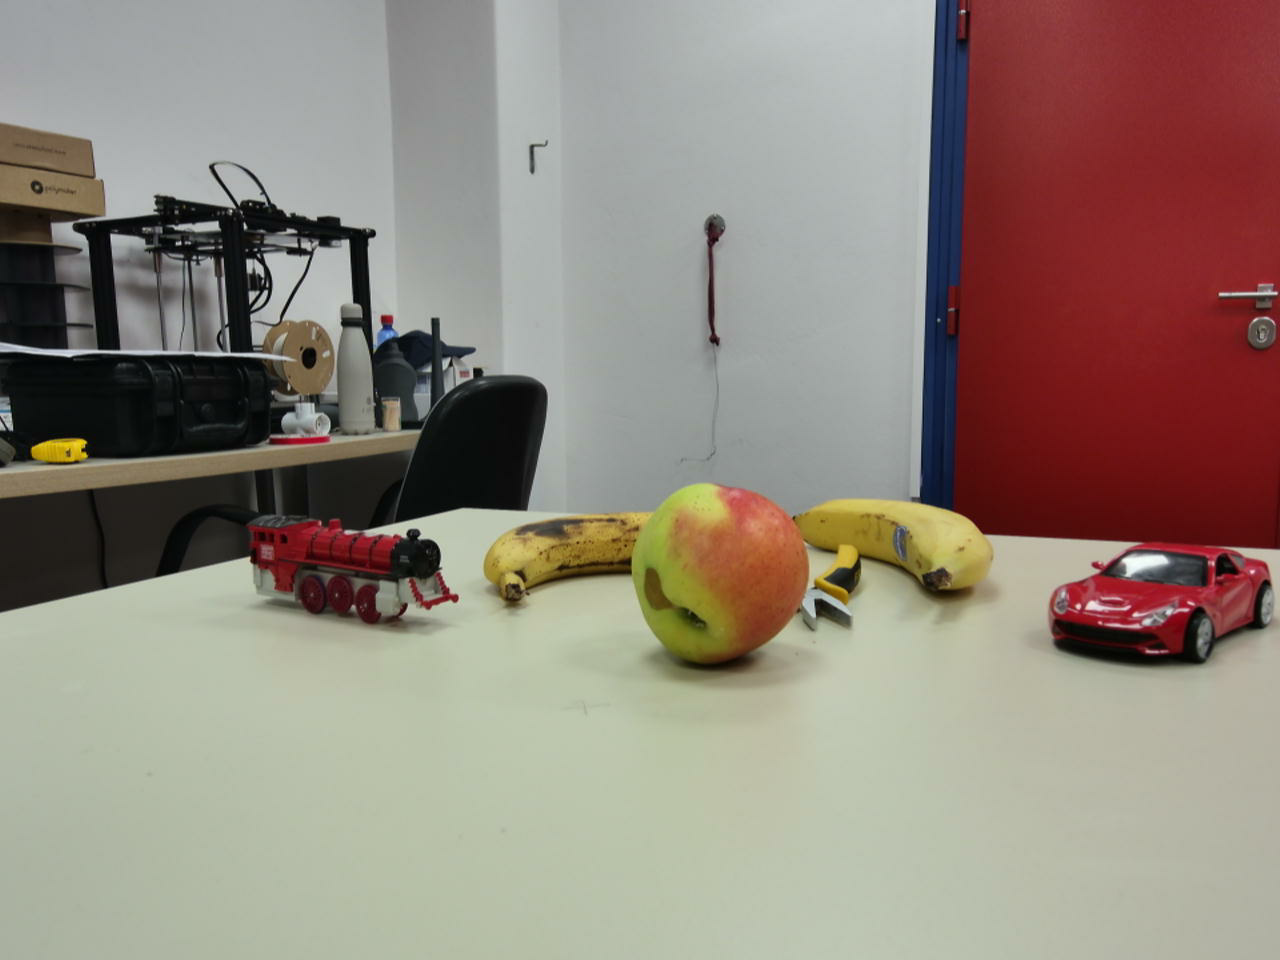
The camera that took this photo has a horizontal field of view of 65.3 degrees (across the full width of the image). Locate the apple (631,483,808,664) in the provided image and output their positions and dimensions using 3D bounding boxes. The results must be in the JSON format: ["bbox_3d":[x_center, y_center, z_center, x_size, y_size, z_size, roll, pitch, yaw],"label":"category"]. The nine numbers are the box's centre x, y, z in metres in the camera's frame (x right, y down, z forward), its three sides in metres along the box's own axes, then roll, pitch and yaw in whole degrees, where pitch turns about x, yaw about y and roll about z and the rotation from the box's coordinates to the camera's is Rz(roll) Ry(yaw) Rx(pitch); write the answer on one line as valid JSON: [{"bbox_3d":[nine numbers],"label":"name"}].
[{"bbox_3d":[0.034,0.039,0.428,0.075,0.074,0.075,0,3,5],"label":"apple"}]
